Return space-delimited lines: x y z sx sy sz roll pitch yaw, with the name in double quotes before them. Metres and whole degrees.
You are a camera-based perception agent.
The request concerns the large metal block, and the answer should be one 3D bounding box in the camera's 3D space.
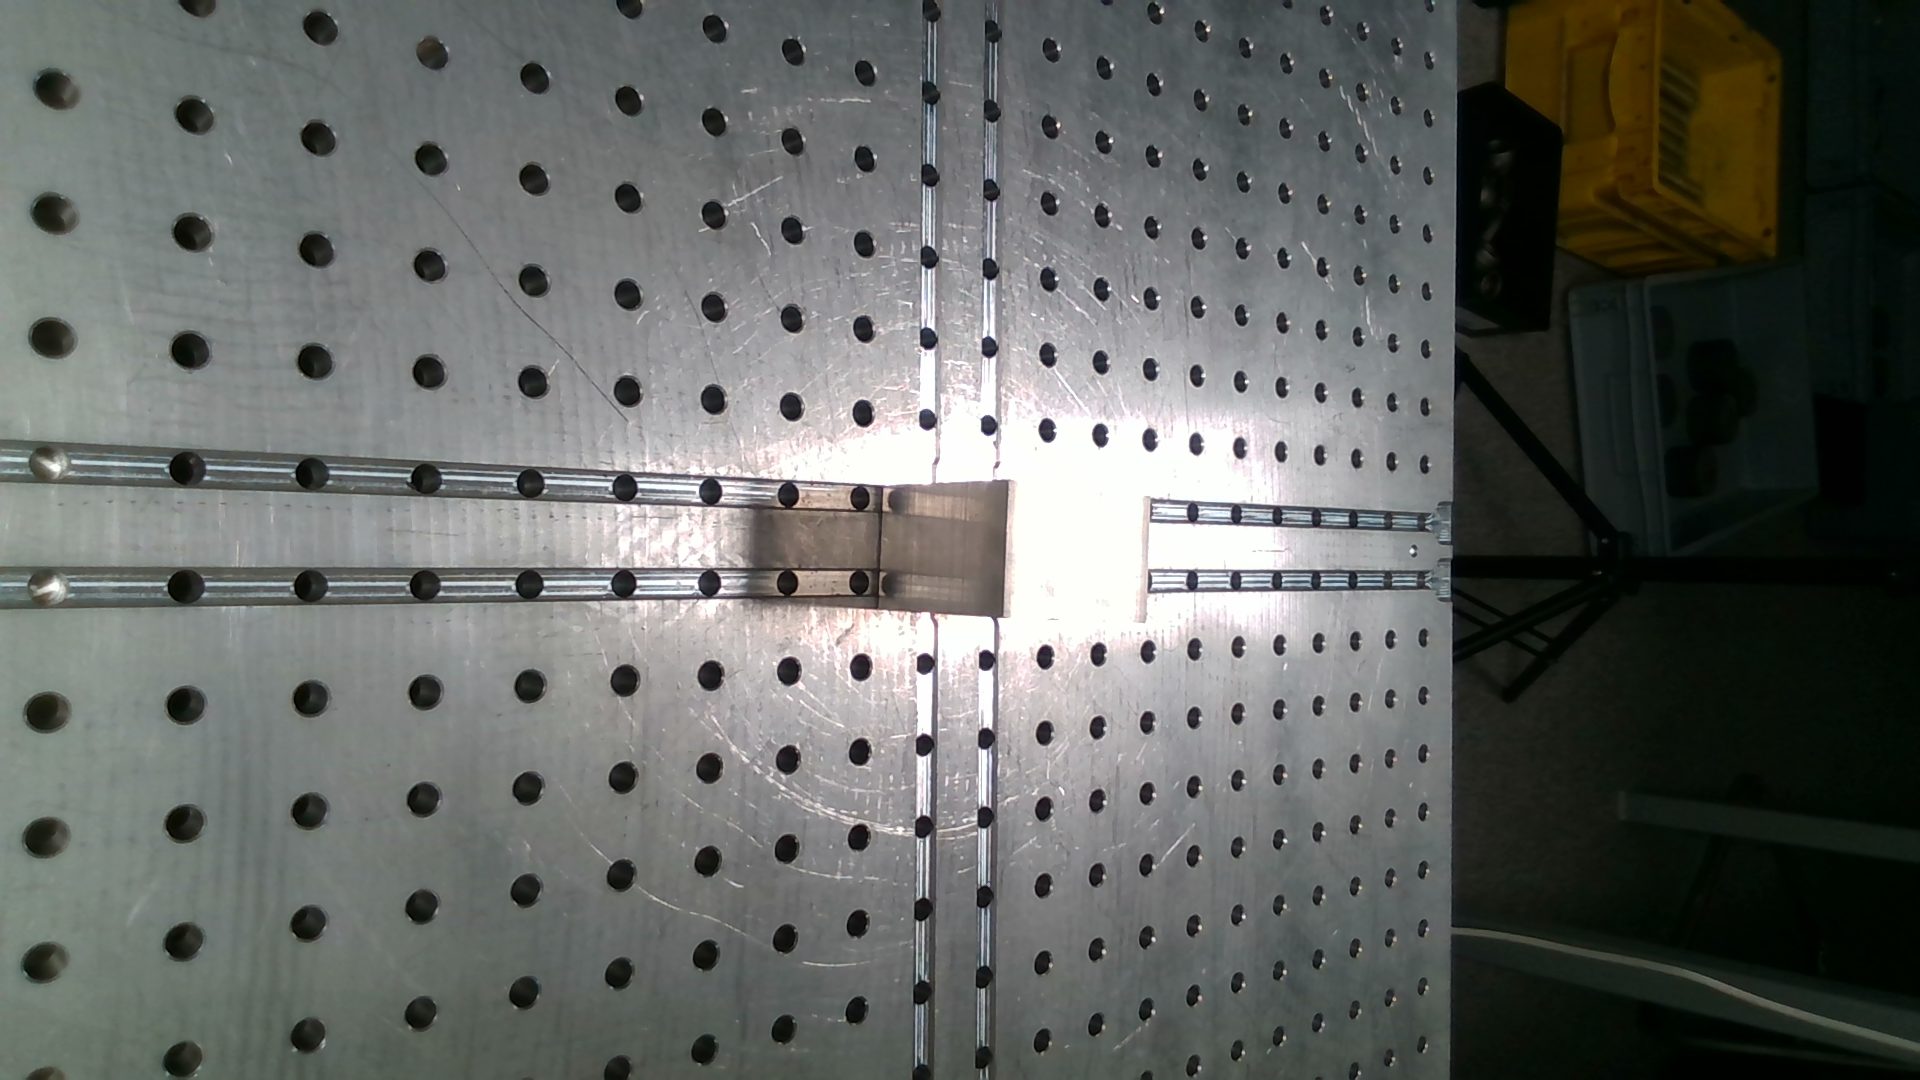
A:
"large metal block" 0.022 0.006 0.568 0.080 0.080 0.050 4 87 -40
